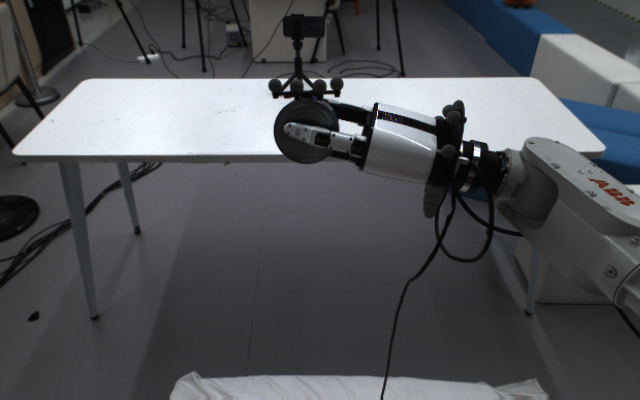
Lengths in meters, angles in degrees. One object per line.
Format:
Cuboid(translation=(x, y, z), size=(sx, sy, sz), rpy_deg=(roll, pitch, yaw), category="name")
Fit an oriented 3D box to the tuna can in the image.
Cuboid(translation=(-0.014, -0.089, 0.637), size=(0.085, 0.085, 0.034), rpy_deg=(4, 18, 3), category="tuna can")
